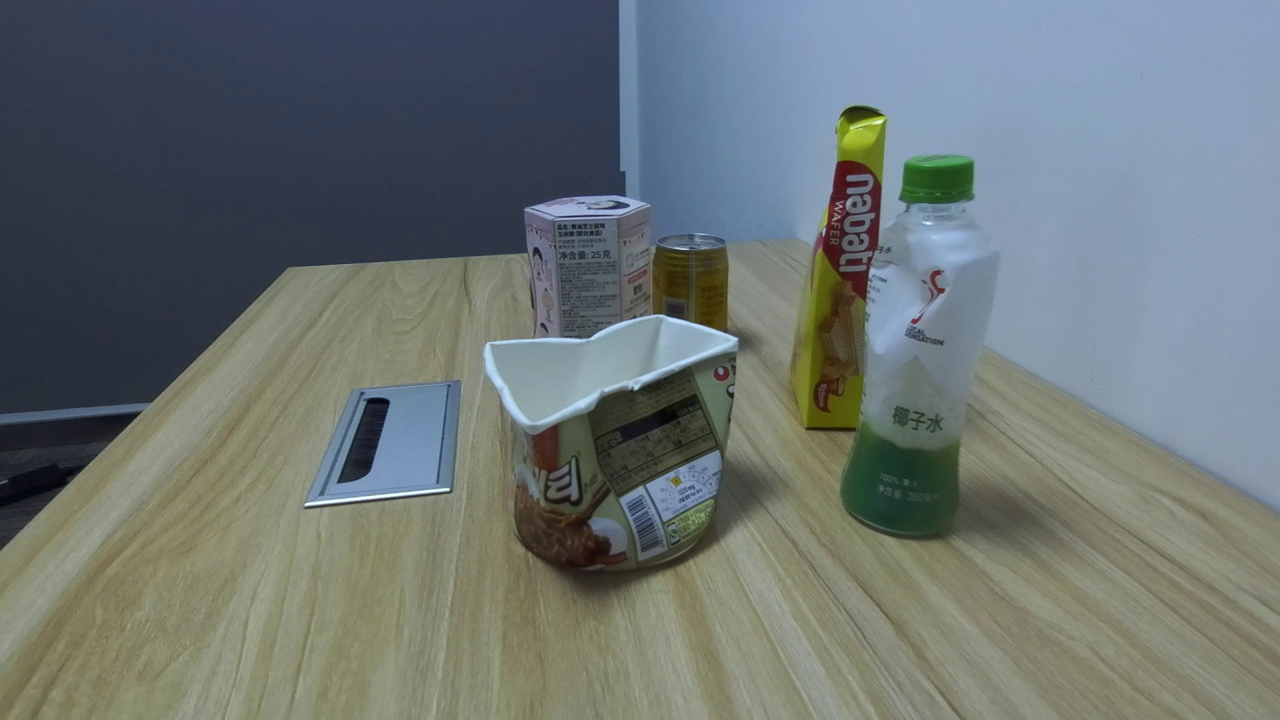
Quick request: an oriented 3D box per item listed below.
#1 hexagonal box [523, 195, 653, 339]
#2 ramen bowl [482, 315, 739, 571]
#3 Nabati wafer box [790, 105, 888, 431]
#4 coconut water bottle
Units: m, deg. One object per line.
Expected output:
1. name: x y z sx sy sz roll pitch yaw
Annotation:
1. hexagonal box: -0.037 -0.048 0.532 0.083 0.136 0.091 10 25 26
2. ramen bowl: -0.009 0.039 0.376 0.129 0.093 0.111 -11 25 -22
3. Nabati wafer box: 0.135 -0.064 0.476 0.042 0.205 0.113 3 23 6
4. coconut water bottle: 0.142 -0.005 0.356 0.069 0.187 0.069 0 24 0
